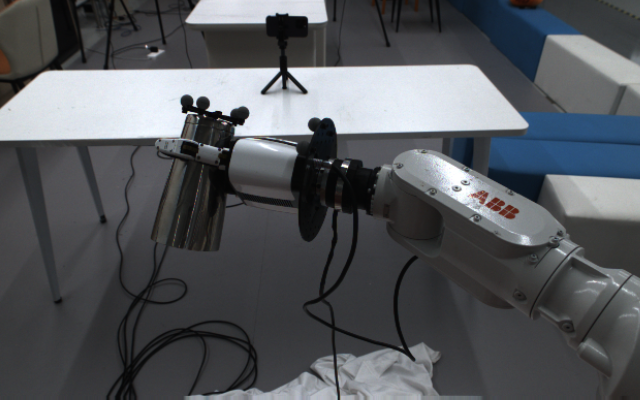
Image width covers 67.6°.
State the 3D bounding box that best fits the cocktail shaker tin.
[{"bbox_3d":[-0.162,-0.026,0.653,0.093,0.170,0.093,12,2,0],"label":"cocktail shaker tin"}]
